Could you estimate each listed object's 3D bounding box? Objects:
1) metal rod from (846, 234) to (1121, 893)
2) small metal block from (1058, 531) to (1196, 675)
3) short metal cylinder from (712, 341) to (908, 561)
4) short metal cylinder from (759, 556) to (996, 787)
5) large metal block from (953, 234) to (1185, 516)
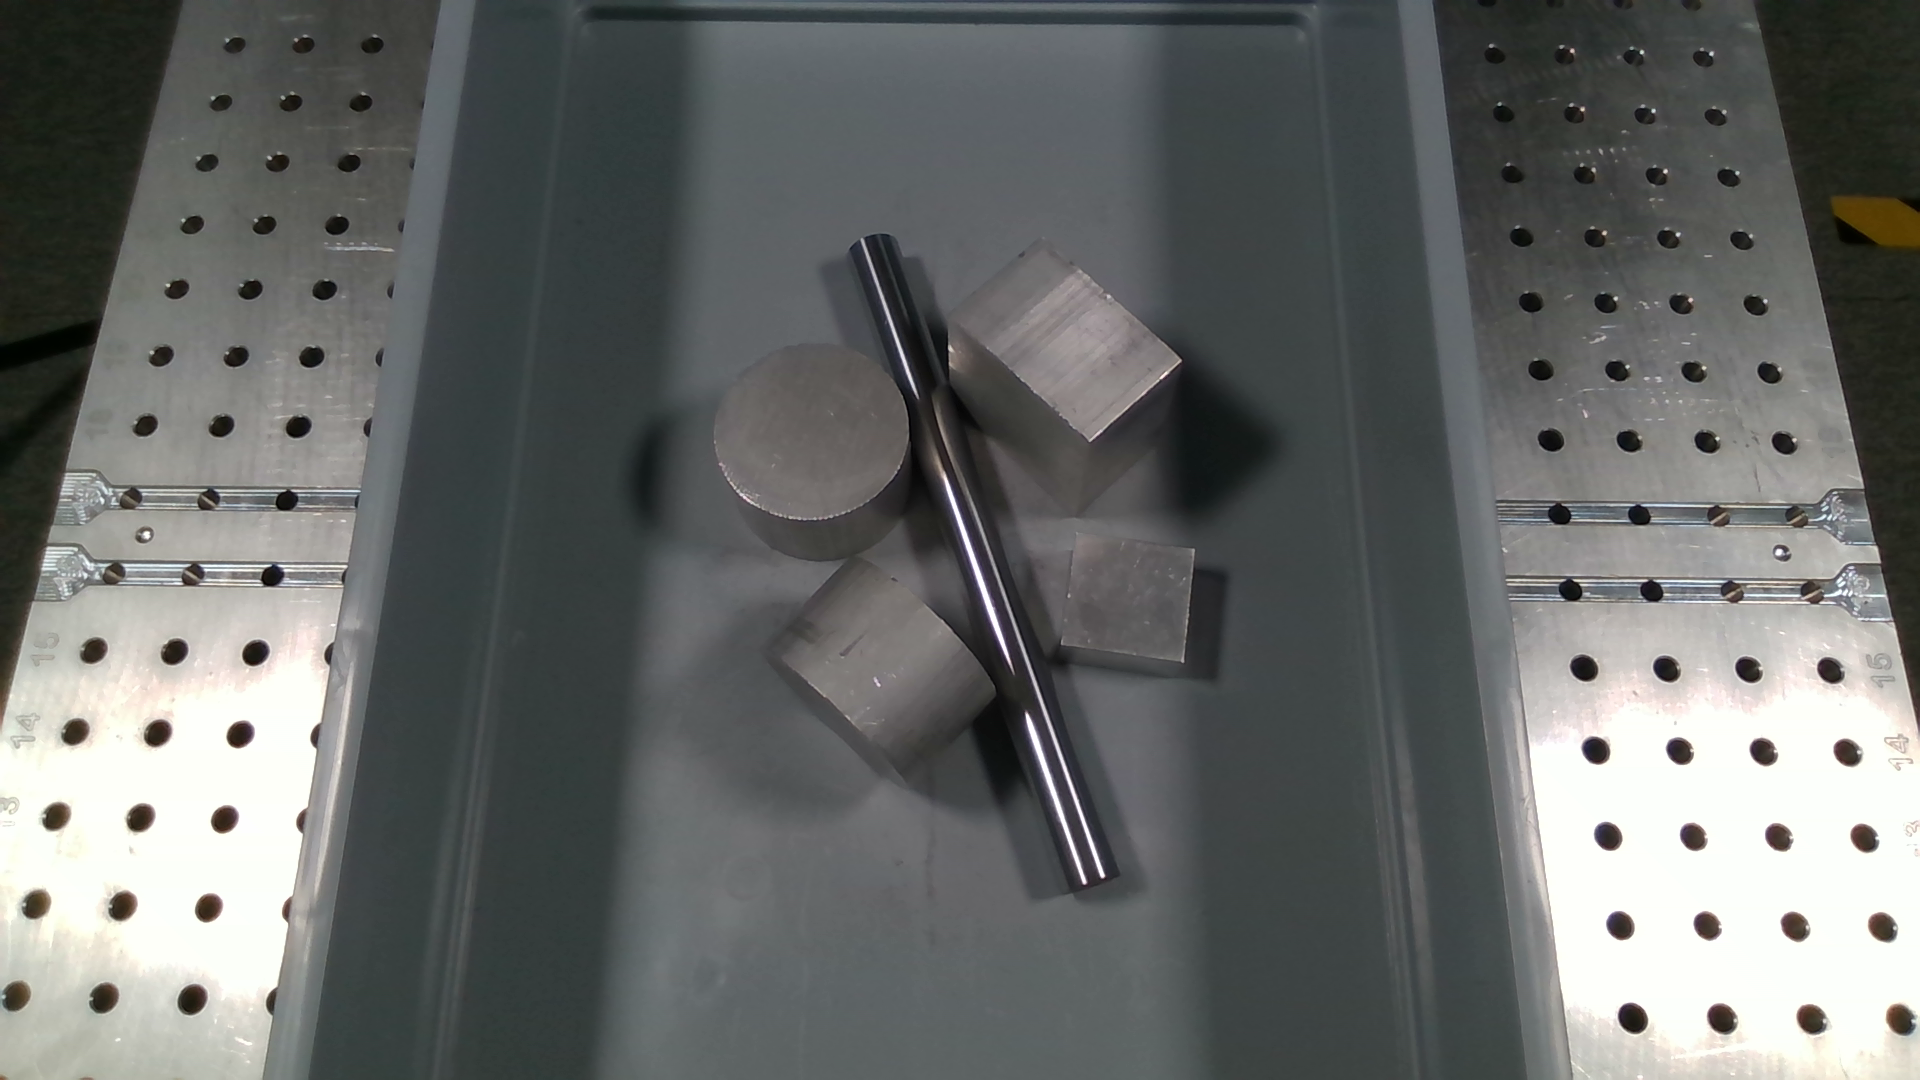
[{"bbox_3d":[0.005,0.000,0.587,0.025,0.025,0.299,-17,71,-6],"label":"metal rod"},{"bbox_3d":[0.070,0.027,0.577,0.050,0.025,0.050,8,70,3],"label":"small metal block"},{"bbox_3d":[-0.061,-0.037,0.586,0.080,0.050,0.080,0,70,0],"label":"short metal cylinder"},{"bbox_3d":[-0.032,0.052,0.540,0.080,0.080,0.050,41,75,13],"label":"short metal cylinder"},{"bbox_3d":[0.043,-0.068,0.583,0.050,0.080,0.080,-42,75,-14],"label":"large metal block"}]
